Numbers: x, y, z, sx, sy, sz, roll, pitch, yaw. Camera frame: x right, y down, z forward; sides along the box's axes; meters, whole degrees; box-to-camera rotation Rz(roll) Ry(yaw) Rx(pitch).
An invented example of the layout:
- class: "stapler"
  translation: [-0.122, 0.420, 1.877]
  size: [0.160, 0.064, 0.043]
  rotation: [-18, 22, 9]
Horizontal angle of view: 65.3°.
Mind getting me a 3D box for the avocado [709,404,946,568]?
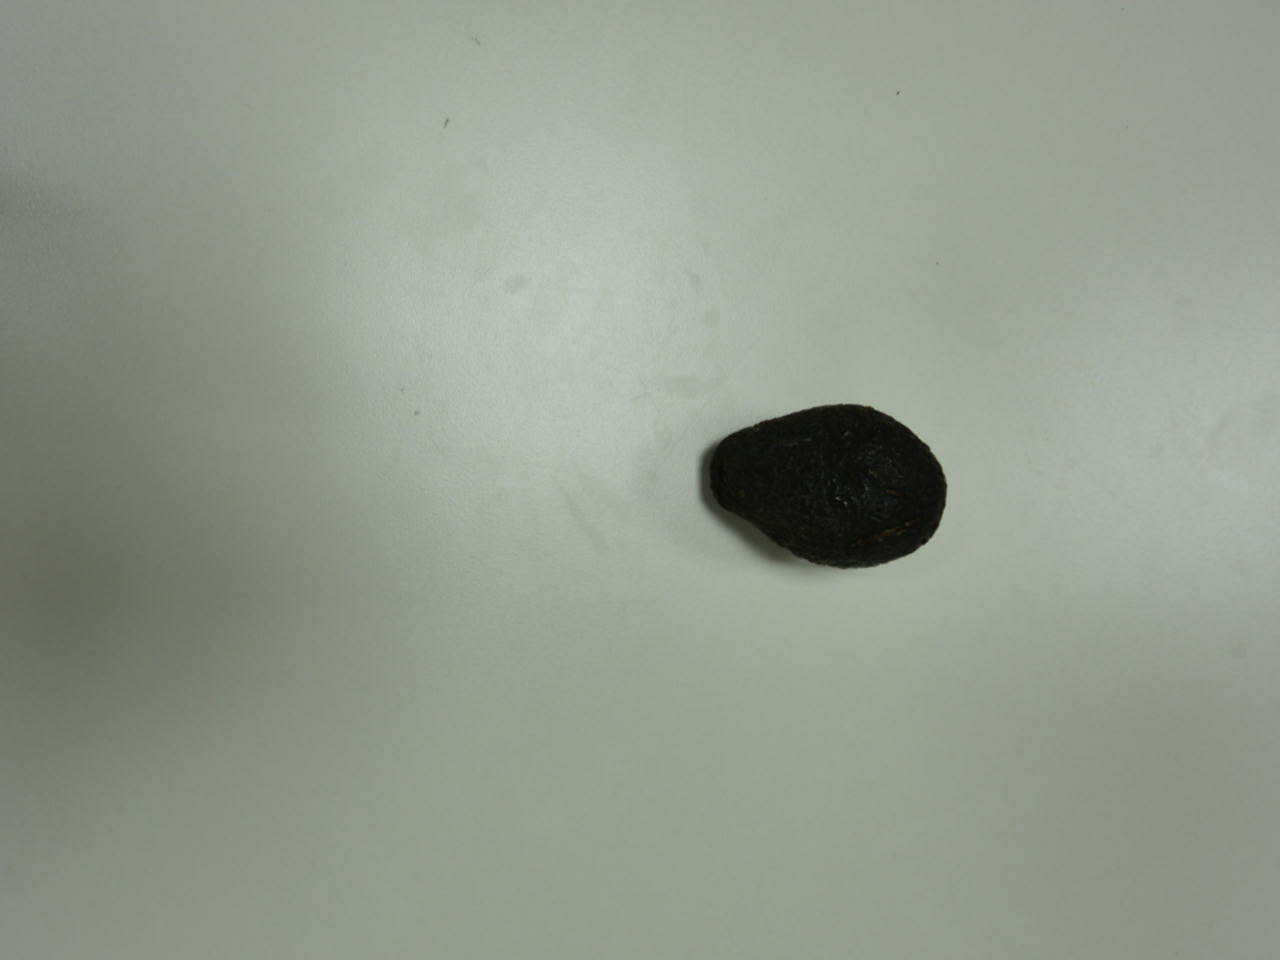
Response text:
- class: "avocado"
  translation: [0.082, -0.001, 0.421]
  size: [0.090, 0.069, 0.070]
  rotation: [35, 83, -10]
